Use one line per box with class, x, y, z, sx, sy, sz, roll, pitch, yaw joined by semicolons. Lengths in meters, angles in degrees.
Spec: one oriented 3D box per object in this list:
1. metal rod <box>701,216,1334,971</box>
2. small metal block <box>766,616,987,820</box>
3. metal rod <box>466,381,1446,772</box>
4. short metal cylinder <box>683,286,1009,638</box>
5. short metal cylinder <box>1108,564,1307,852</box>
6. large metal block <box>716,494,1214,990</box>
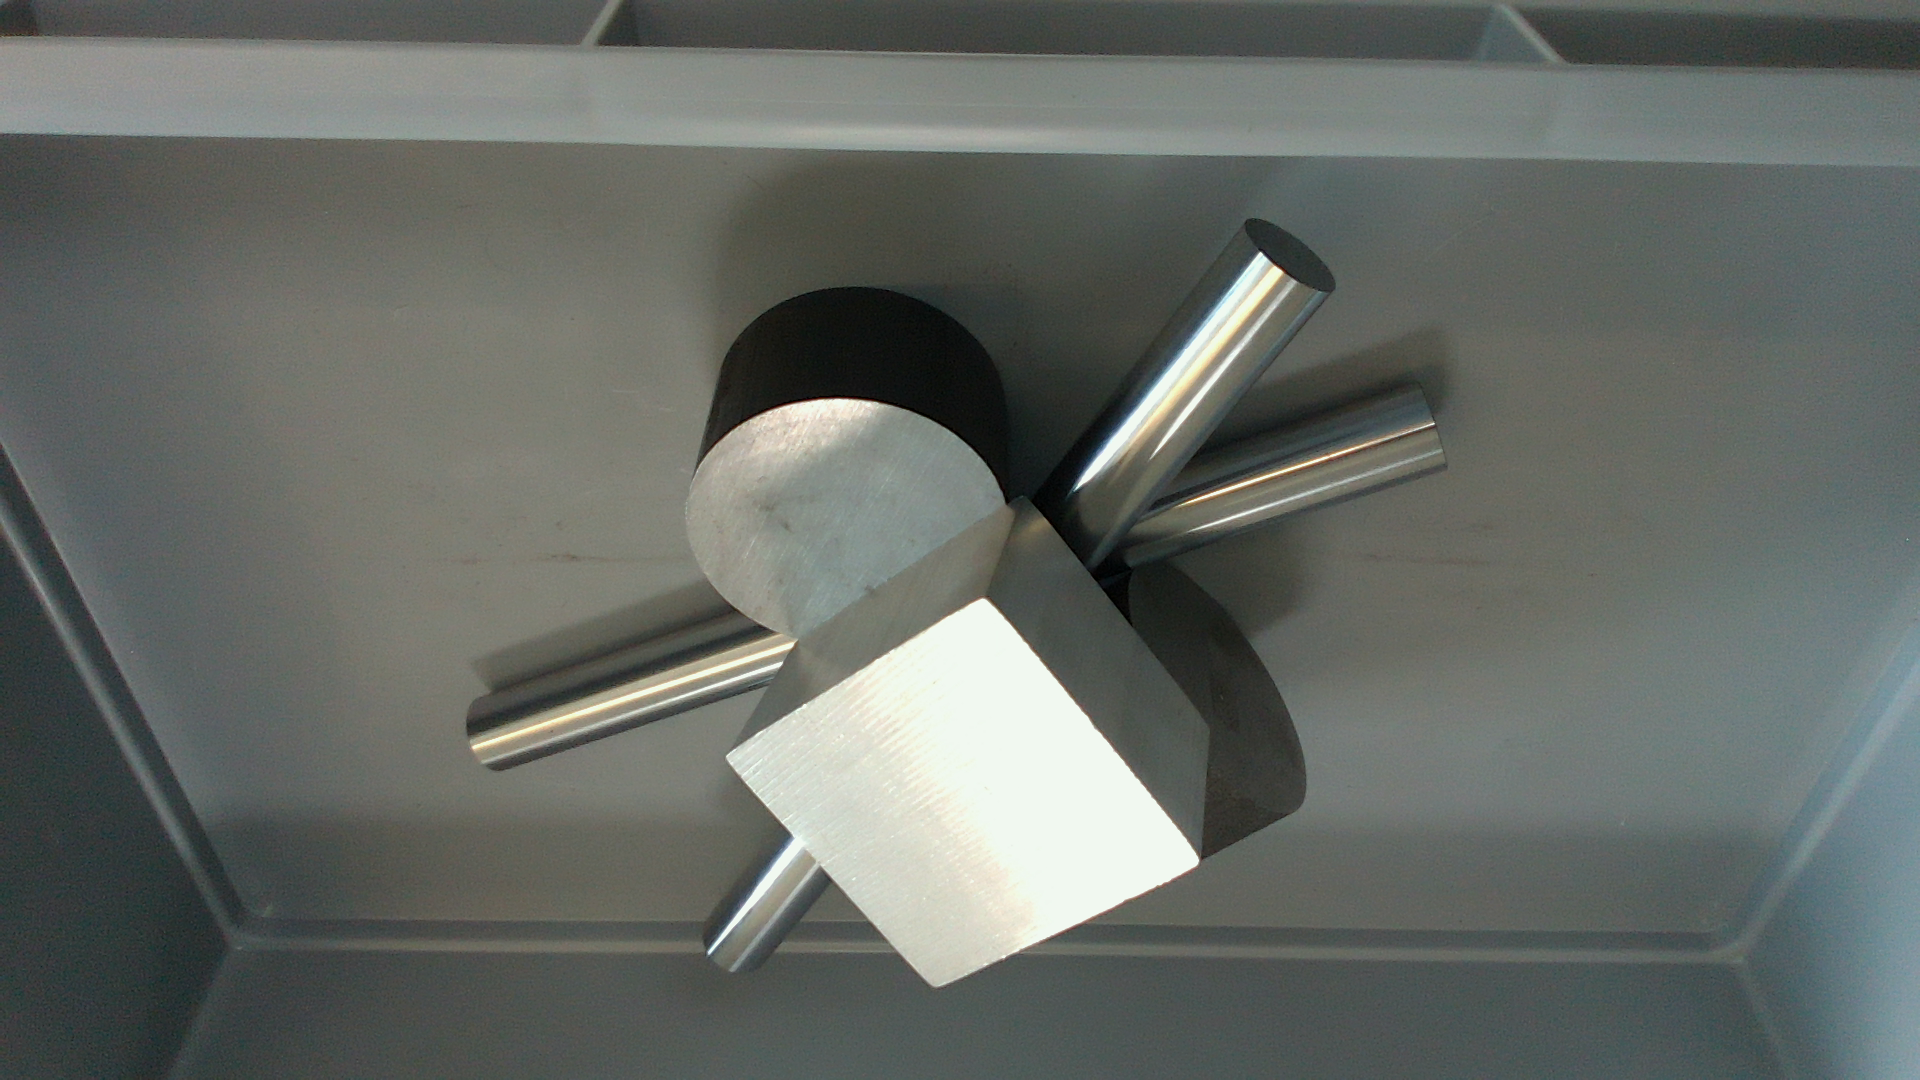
metal rod;-0.002;0.036;0.387;0.025;0.025;0.299;24;126;-19
small metal block;-0.025;0.058;0.438;0.050;0.025;0.050;-22;127;18
metal rod;-0.013;0.016;0.402;0.299;0.025;0.025;-19;128;15
short metal cylinder;-0.028;-0.018;0.357;0.080;0.050;0.080;0;130;0
short metal cylinder;0.056;0.053;0.399;0.050;0.080;0.080;-35;122;27
large metal block;0.004;0.050;0.332;0.080;0.050;0.080;-32;106;25
